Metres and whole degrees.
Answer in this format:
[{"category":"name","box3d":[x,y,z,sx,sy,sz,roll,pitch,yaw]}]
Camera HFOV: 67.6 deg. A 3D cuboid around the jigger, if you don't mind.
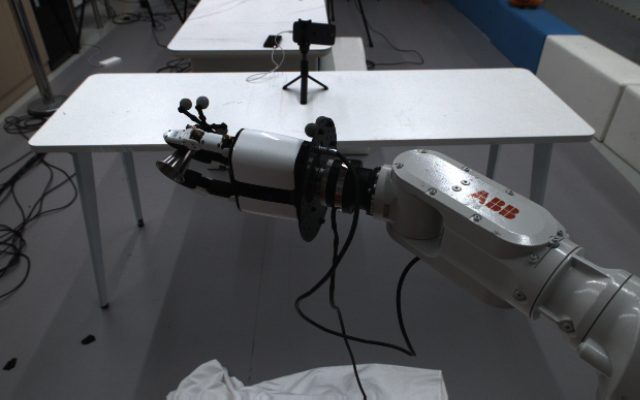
[{"category":"jigger","box3d":[-0.184,-0.066,0.651,0.043,0.043,0.071,19,62,23]}]
